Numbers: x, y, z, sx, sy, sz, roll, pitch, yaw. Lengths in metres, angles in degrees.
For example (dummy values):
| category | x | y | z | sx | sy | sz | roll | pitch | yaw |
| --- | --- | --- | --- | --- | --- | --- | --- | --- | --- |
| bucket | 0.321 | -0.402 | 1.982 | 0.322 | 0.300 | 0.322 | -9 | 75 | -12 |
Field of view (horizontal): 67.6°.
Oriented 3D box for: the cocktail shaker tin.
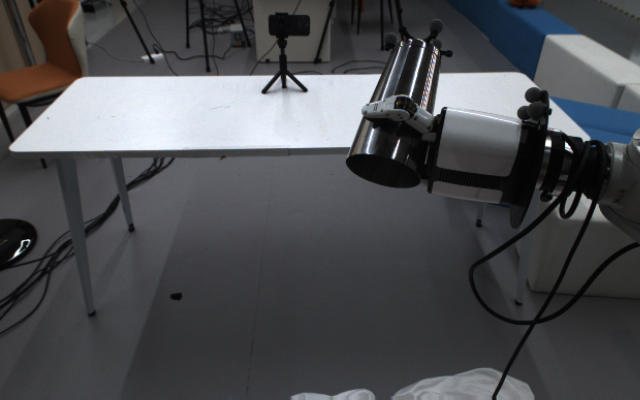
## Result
| category | x | y | z | sx | sy | sz | roll | pitch | yaw |
| --- | --- | --- | --- | --- | --- | --- | --- | --- | --- |
| cocktail shaker tin | 0.099 | -0.111 | 0.601 | 0.093 | 0.093 | 0.170 | 14 | 72 | 17 |
